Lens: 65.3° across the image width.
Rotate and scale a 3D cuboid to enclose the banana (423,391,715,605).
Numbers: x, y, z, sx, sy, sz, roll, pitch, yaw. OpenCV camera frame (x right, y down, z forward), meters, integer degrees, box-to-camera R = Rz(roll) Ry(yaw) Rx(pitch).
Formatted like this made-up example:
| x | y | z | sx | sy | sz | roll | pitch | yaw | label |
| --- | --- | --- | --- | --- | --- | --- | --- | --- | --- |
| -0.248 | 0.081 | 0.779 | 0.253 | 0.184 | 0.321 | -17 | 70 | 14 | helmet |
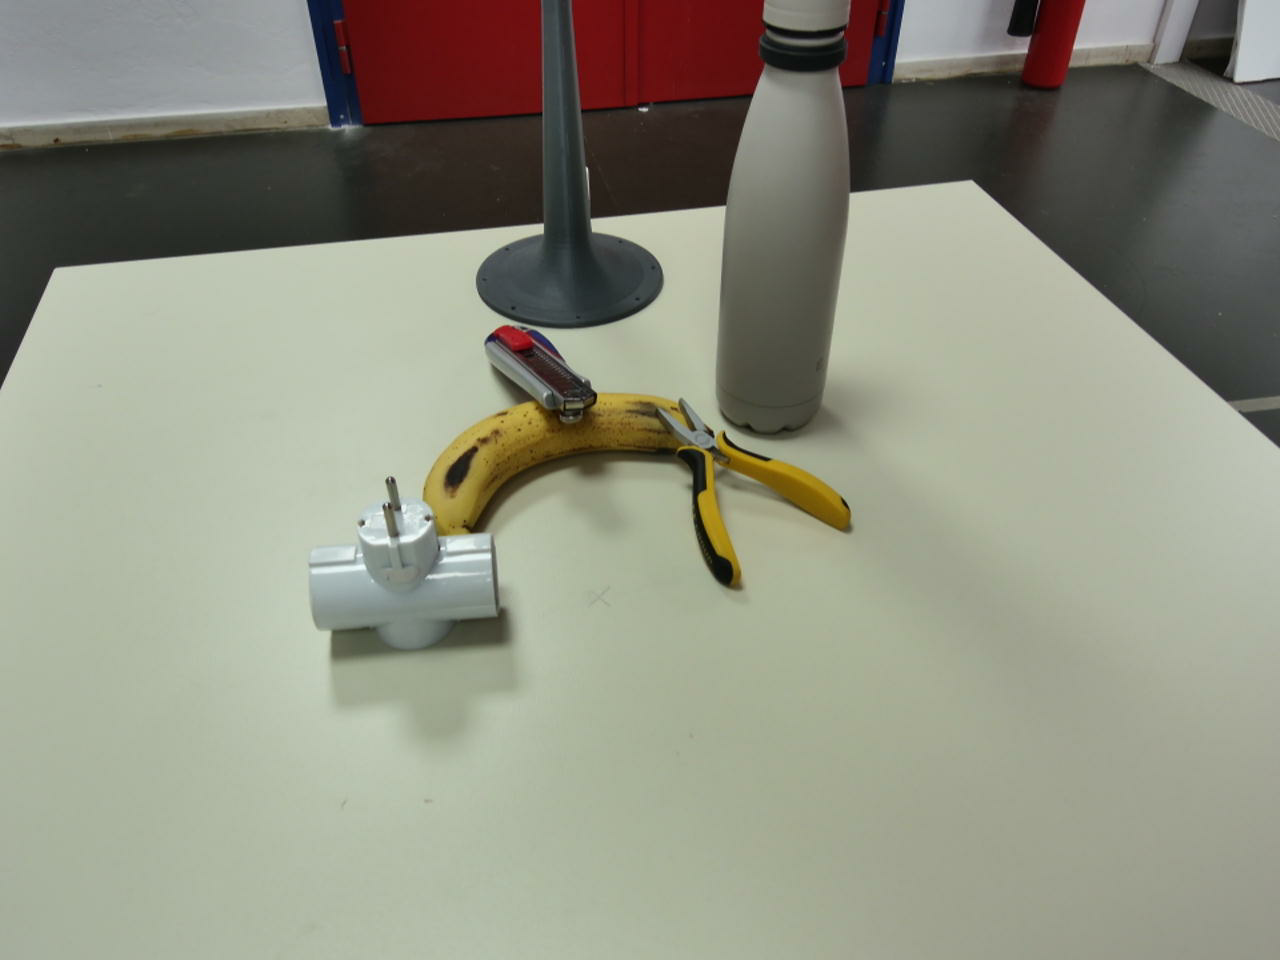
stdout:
| x | y | z | sx | sy | sz | roll | pitch | yaw | label |
| --- | --- | --- | --- | --- | --- | --- | --- | --- | --- |
| -0.051 | -0.012 | 0.599 | 0.186 | 0.038 | 0.097 | -28 | 47 | -30 | banana |
